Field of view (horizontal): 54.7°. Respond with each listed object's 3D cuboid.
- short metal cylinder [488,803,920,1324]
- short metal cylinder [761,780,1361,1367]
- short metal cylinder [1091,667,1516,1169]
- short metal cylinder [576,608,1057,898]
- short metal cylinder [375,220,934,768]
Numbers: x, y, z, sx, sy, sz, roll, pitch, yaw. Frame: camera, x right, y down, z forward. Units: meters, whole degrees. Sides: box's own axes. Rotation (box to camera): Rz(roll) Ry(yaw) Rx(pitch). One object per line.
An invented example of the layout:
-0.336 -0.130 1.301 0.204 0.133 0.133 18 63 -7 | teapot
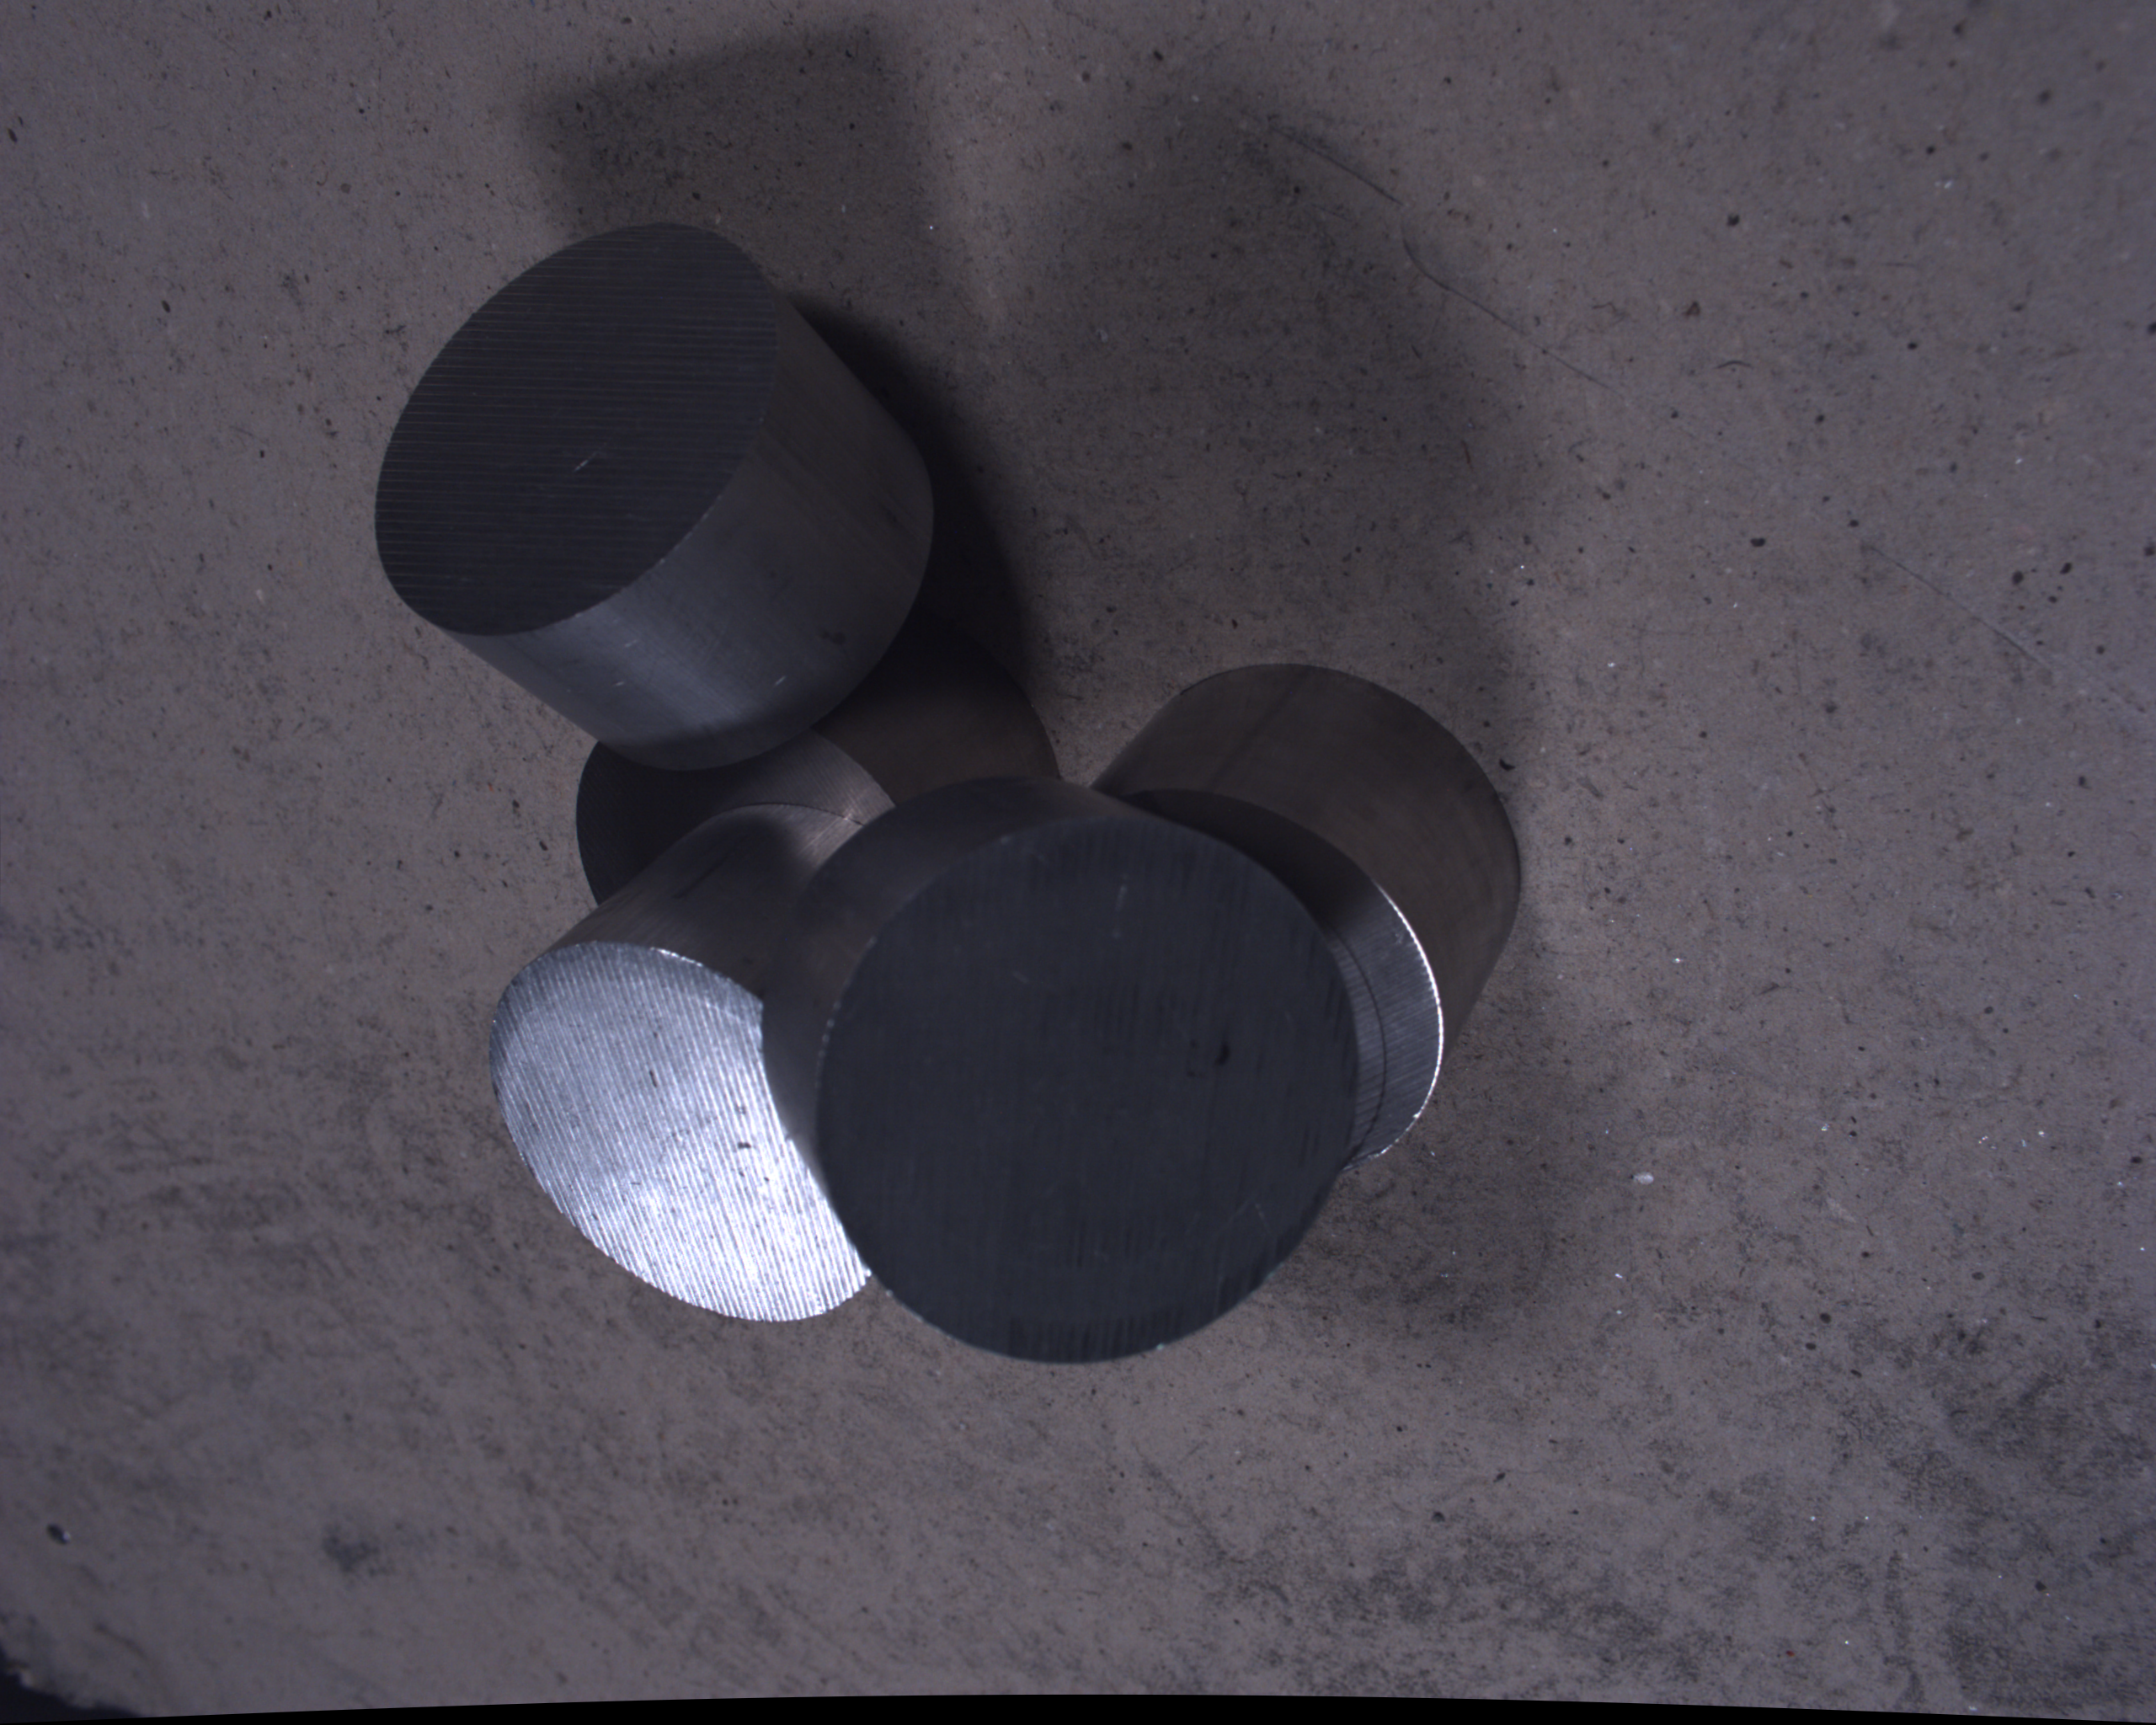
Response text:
-0.058 0.036 0.378 0.080 0.050 0.079 13 124 20 | short metal cylinder
-0.004 0.030 0.318 0.080 0.080 0.050 61 169 -16 | short metal cylinder
0.034 0.011 0.379 0.080 0.050 0.079 13 124 20 | short metal cylinder
-0.051 -0.007 0.412 0.080 0.050 0.079 13 124 20 | short metal cylinder
-0.073 -0.063 0.362 0.080 0.080 0.050 0 157 28 | short metal cylinder
